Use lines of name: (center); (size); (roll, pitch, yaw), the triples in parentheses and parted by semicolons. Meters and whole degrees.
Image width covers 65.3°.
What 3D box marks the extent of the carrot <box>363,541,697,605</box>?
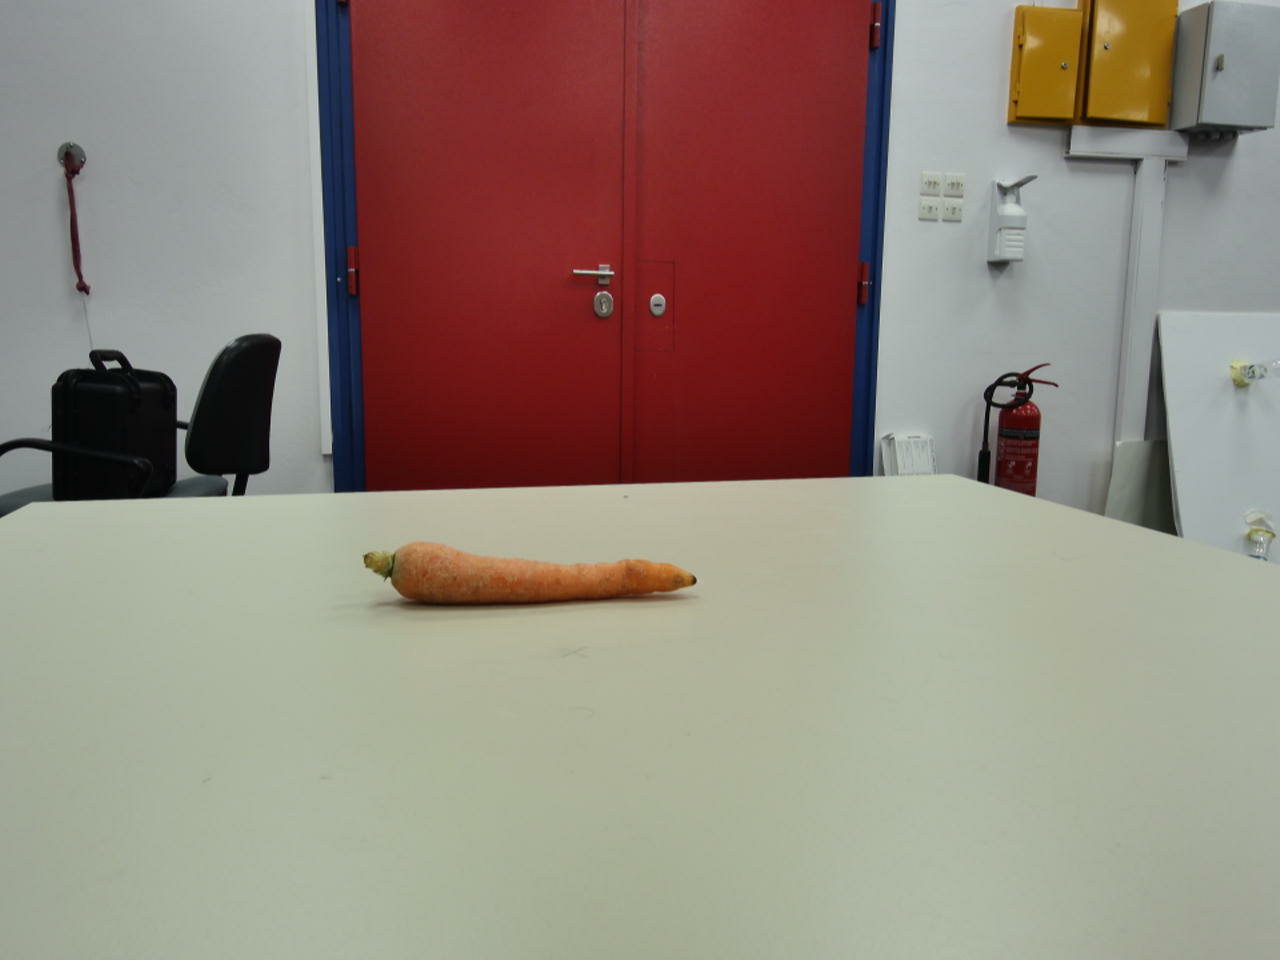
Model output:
carrot: (-0.055, 0.047, 0.517); (0.173, 0.032, 0.030); (0, 6, -4)
